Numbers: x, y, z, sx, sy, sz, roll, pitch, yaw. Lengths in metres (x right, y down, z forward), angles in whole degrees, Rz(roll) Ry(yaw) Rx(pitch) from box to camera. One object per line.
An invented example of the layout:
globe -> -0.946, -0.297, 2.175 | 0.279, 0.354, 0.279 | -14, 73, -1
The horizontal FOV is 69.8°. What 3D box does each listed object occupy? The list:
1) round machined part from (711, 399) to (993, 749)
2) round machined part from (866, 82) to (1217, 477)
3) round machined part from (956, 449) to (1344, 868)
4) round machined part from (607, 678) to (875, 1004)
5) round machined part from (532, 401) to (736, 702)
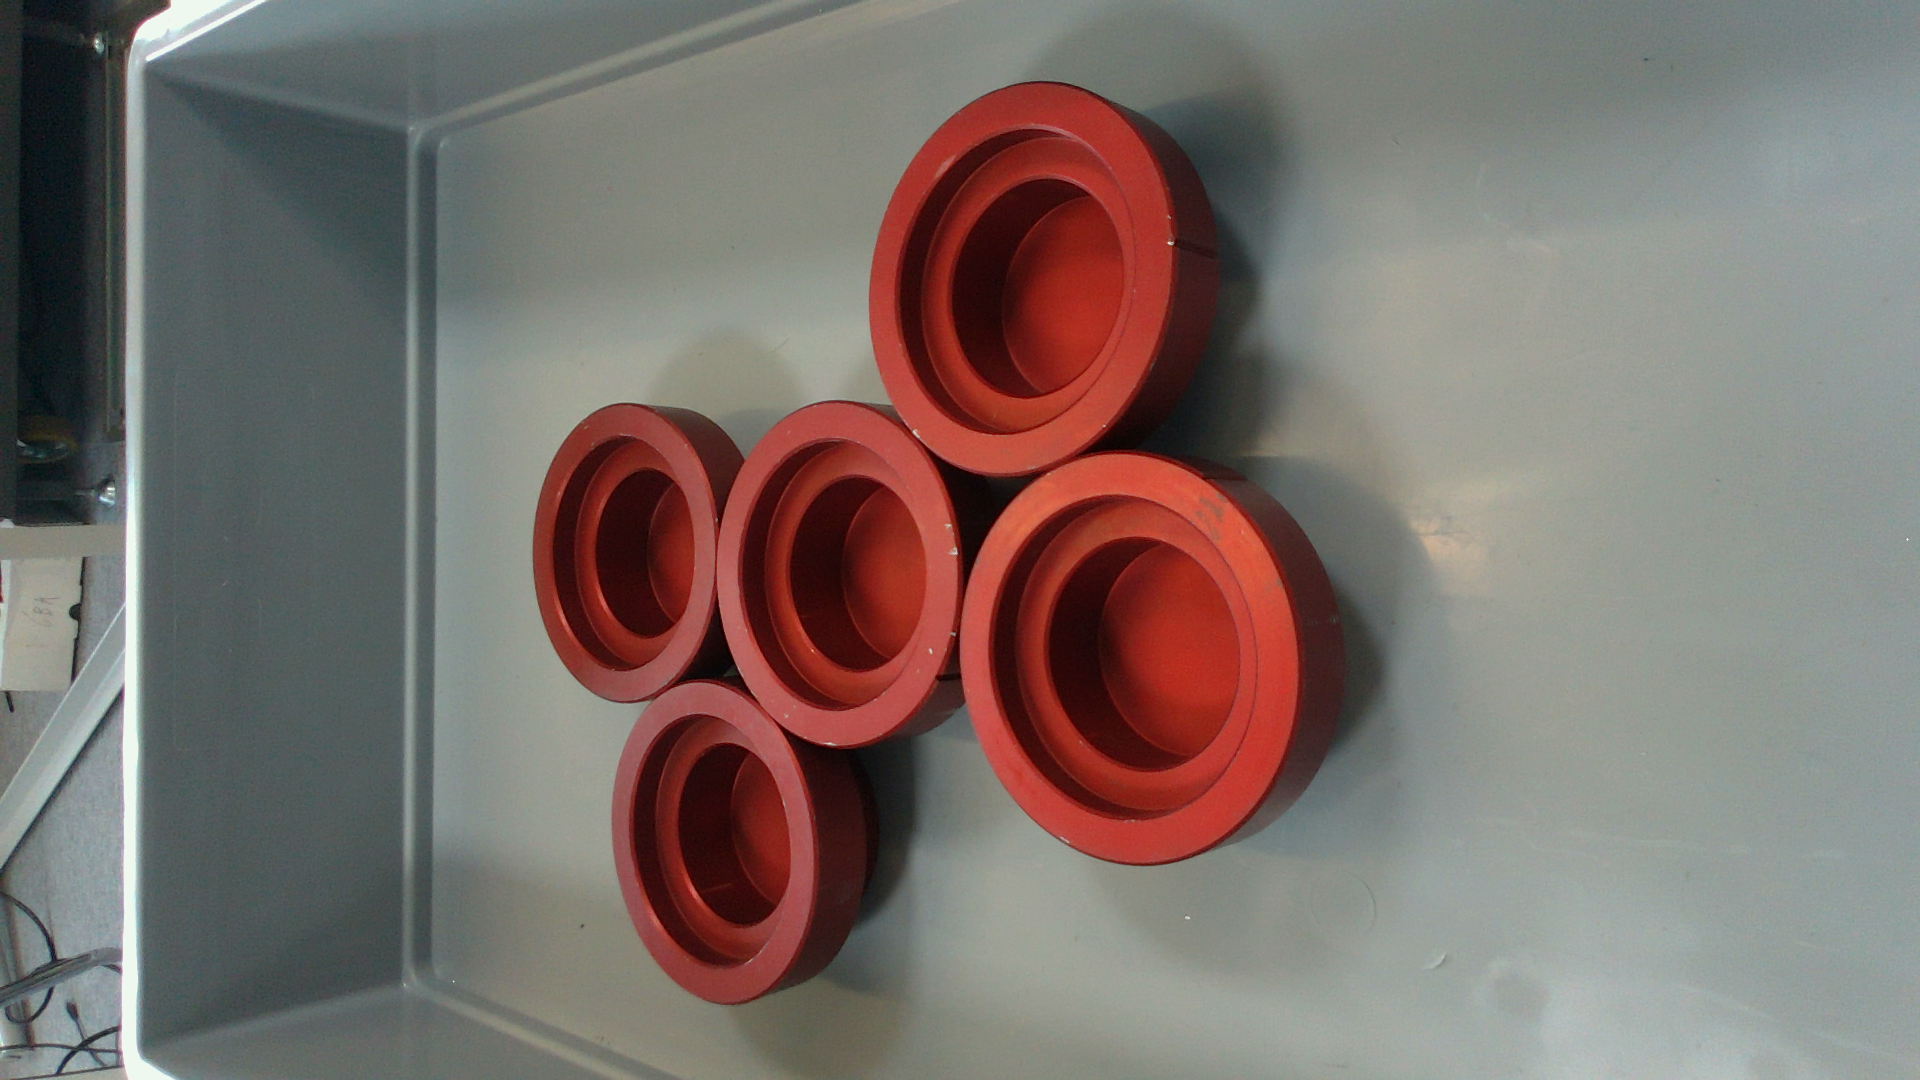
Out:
round machined part -> -0.025, 0.009, 0.401 | 0.098, 0.042, 0.098 | 0, 90, 40
round machined part -> 0.025, -0.065, 0.360 | 0.098, 0.042, 0.098 | 0, 90, 40
round machined part -> 0.049, 0.028, 0.339 | 0.098, 0.042, 0.098 | 0, 90, 40
round machined part -> -0.065, 0.092, 0.435 | 0.098, 0.042, 0.098 | 0, 90, 40
round machined part -> -0.099, 0.004, 0.465 | 0.098, 0.042, 0.098 | 0, 90, 40
